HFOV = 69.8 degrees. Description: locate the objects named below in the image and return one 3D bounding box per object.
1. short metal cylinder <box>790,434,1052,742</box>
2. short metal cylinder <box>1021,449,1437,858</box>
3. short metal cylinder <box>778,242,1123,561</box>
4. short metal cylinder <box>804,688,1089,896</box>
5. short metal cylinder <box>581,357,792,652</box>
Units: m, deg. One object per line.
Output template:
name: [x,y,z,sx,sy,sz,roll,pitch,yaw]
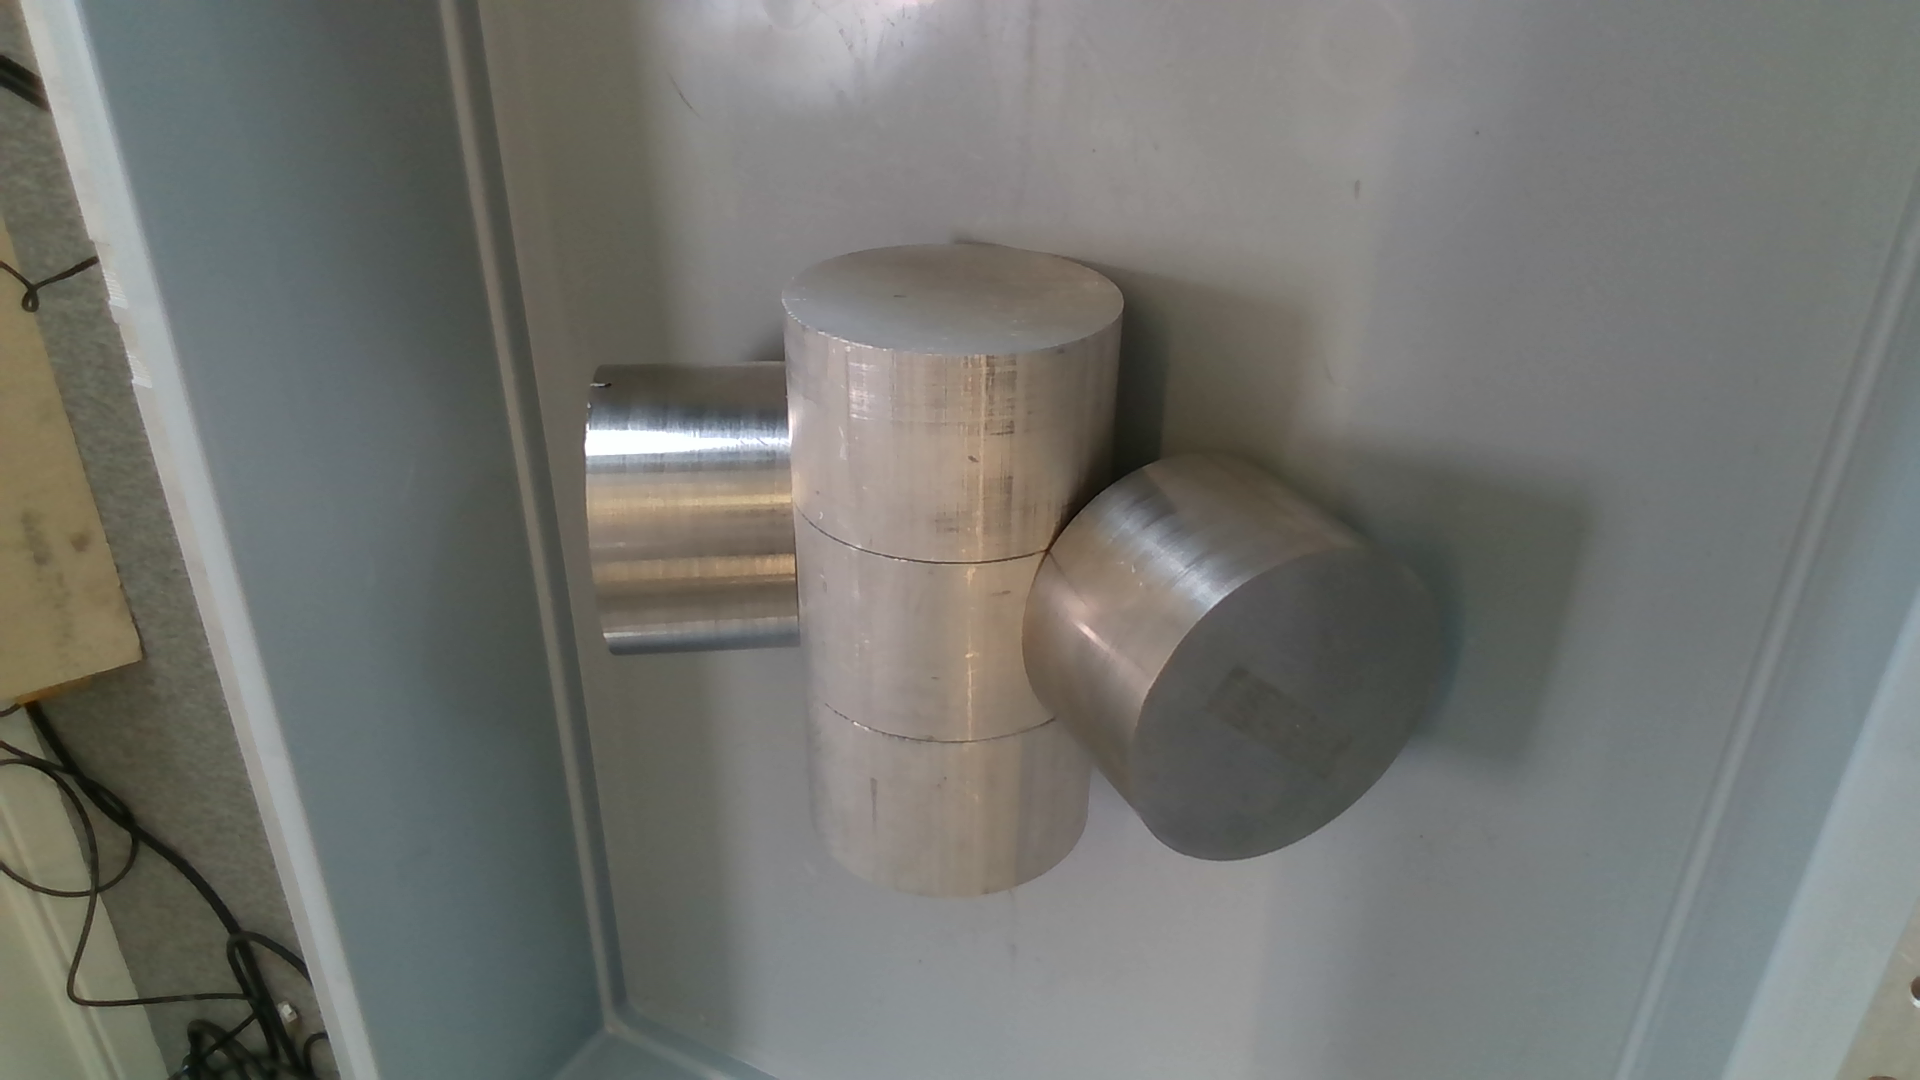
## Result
short metal cylinder: [-0.003,0.008,0.358,0.080,0.080,0.050,15,122,24]
short metal cylinder: [0.061,0.026,0.319,0.050,0.080,0.080,-131,36,-52]
short metal cylinder: [-0.003,-0.036,0.334,0.080,0.080,0.050,15,122,24]
short metal cylinder: [-0.003,0.052,0.383,0.080,0.080,0.050,15,122,24]
short metal cylinder: [-0.072,-0.010,0.381,0.050,0.080,0.080,-3,119,-5]
